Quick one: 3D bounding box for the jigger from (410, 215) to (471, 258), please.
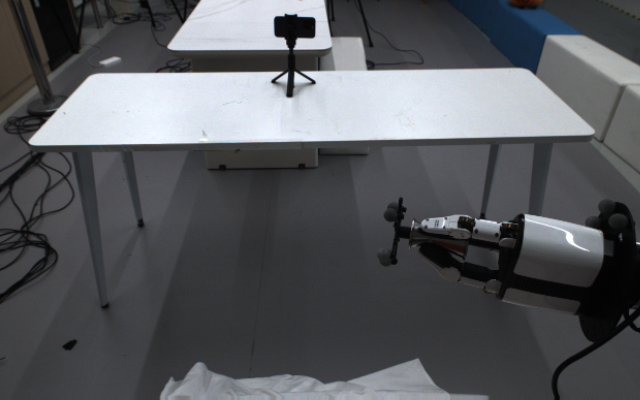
[{"bbox_3d":[0.152,0.043,0.596,0.071,0.043,0.043,8,35,13],"label":"jigger"}]
